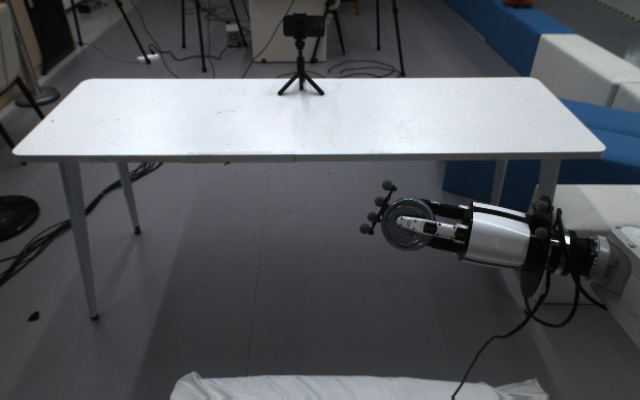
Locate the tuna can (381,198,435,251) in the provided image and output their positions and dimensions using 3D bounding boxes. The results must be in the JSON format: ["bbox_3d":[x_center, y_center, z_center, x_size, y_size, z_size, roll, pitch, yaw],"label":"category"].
[{"bbox_3d":[0.143,0.036,0.775,0.085,0.085,0.034,9,4,10],"label":"tuna can"}]
